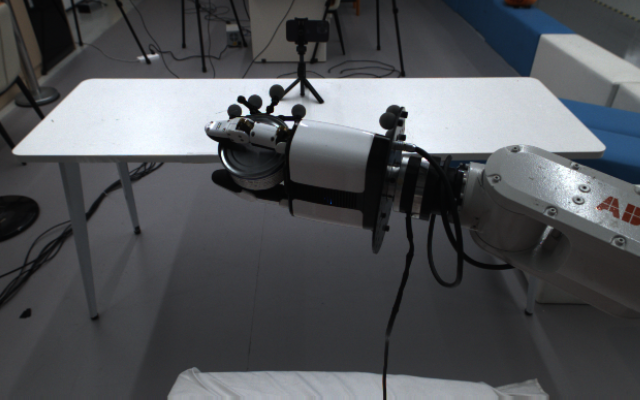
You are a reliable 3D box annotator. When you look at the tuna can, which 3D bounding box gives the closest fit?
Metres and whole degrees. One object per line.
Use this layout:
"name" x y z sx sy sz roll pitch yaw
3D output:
"tuna can" -0.070 -0.055 0.558 0.085 0.034 0.085 -3 61 6
